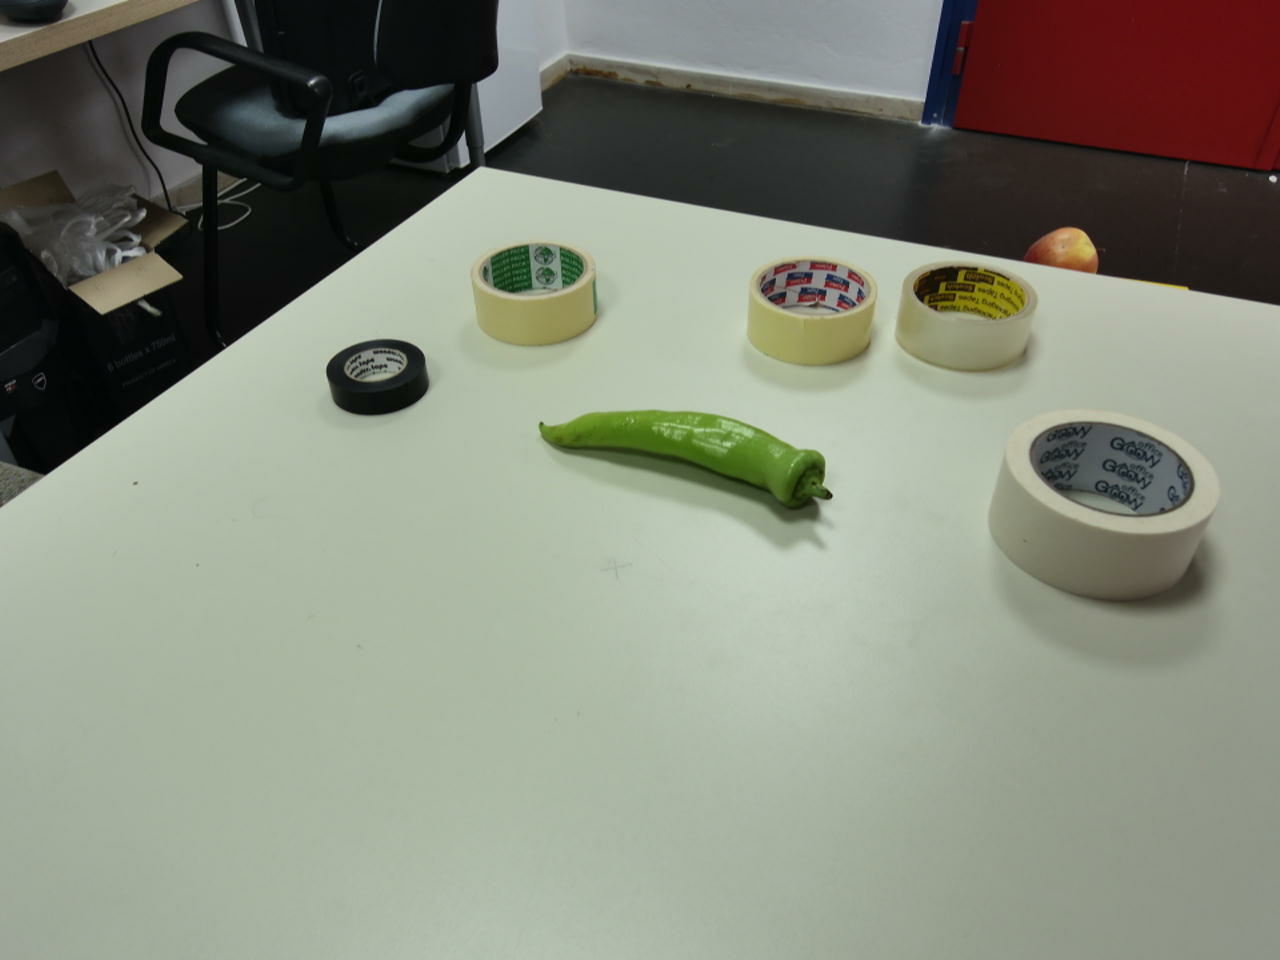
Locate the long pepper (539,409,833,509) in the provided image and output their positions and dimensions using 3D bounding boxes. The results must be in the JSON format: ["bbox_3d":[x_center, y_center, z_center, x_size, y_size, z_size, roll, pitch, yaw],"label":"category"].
[{"bbox_3d":[0.027,-0.024,0.607,0.197,0.038,0.046,17,42,21],"label":"long pepper"}]
